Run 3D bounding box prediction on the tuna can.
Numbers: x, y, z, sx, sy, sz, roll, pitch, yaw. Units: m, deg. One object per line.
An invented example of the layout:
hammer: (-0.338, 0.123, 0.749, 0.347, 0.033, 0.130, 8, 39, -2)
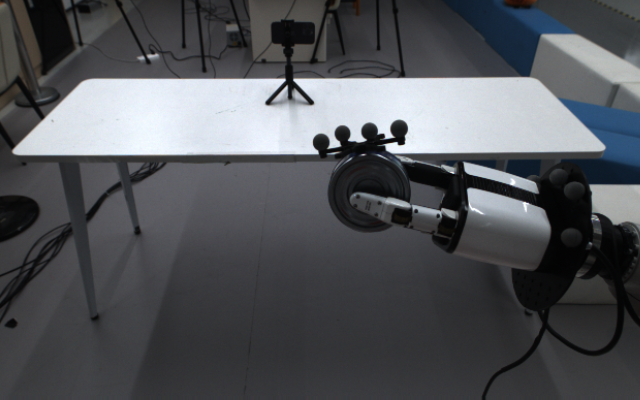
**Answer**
tuna can: (0.054, -0.012, 0.507, 0.085, 0.085, 0.034, 6, 18, 5)
